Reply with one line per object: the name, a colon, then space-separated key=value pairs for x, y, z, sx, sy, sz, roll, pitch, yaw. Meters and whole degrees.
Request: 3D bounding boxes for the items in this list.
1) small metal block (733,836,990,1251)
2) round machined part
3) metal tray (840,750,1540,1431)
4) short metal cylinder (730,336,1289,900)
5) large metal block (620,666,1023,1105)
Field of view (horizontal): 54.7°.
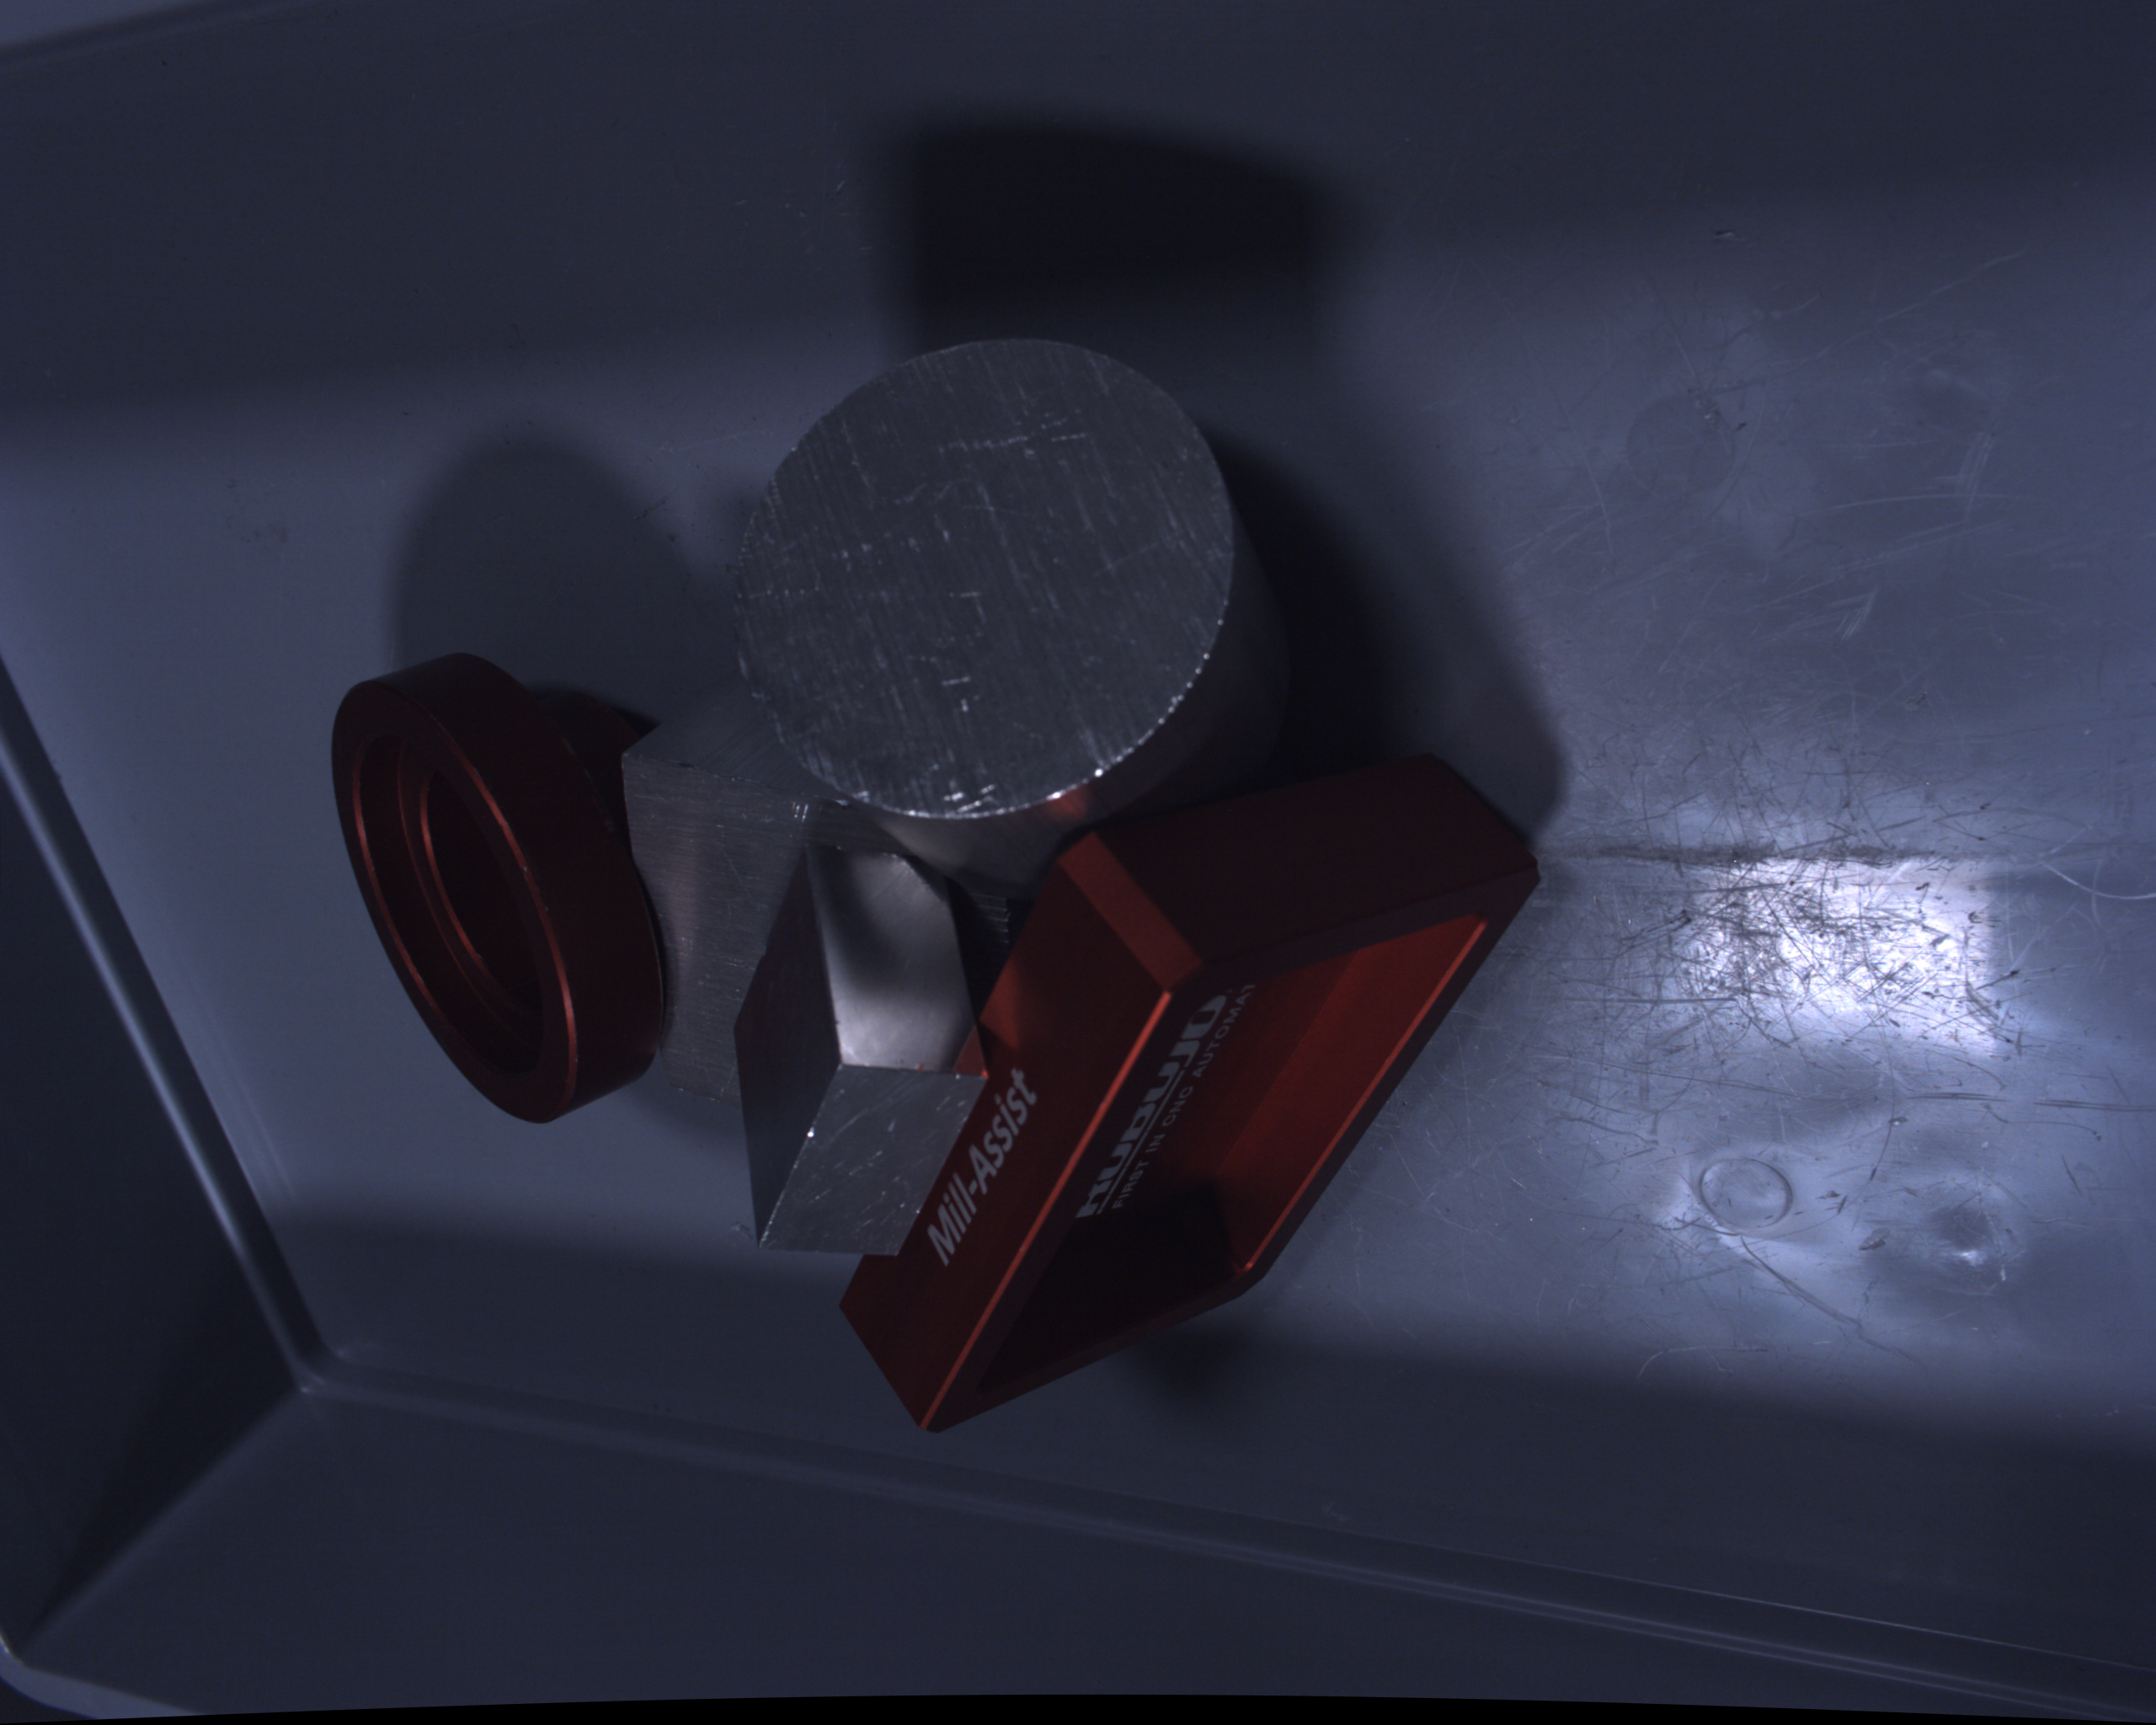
small metal block: x=-0.039 y=0.032 z=0.363 sx=0.025 sy=0.050 sz=0.050 roll=8 pitch=132 yaw=-23
round machined part: x=-0.114 y=0.002 z=0.440 sx=0.098 sy=0.042 sz=0.097 roll=30 pitch=133 yaw=39
metal tray: x=0.018 y=0.043 z=0.379 sx=0.030 sy=0.091 sz=0.129 roll=50 pitch=134 yaw=28
short metal cylinder: x=-0.010 y=-0.038 z=0.343 sx=0.080 sy=0.080 sz=0.050 roll=15 pitch=169 yaw=19
large metal block: x=-0.039 y=0.009 z=0.415 sx=0.080 sy=0.050 sz=0.079 roll=14 pitch=124 yaw=20
